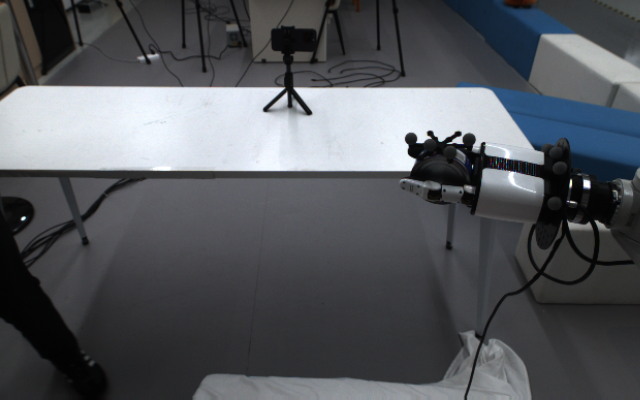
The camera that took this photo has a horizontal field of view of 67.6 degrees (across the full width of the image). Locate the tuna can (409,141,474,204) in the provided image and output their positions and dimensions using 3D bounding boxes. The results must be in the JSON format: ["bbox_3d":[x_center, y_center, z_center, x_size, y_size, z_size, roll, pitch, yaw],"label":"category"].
[{"bbox_3d":[0.178,-0.039,0.709,0.085,0.085,0.034,14,41,16],"label":"tuna can"}]
